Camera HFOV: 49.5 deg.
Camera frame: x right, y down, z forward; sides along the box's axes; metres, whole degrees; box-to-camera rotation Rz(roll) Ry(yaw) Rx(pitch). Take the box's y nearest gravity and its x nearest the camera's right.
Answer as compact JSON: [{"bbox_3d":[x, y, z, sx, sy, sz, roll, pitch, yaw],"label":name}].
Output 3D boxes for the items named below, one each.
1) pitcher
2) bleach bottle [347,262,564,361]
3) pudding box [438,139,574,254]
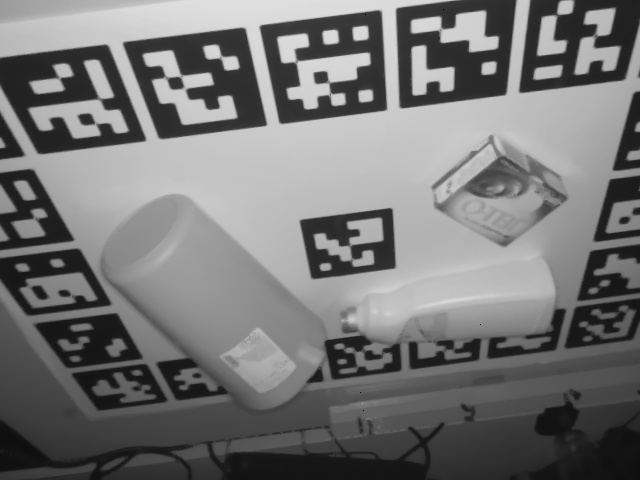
[{"bbox_3d":[-0.115,0.063,0.749,0.186,0.135,0.243,1,140,45],"label":"pitcher"},{"bbox_3d":[0.156,0.093,0.826,0.250,0.068,0.102,-9,129,5],"label":"bleach bottle"},{"bbox_3d":[0.192,-0.043,0.711,0.115,0.039,0.088,29,130,-26],"label":"pudding box"}]
